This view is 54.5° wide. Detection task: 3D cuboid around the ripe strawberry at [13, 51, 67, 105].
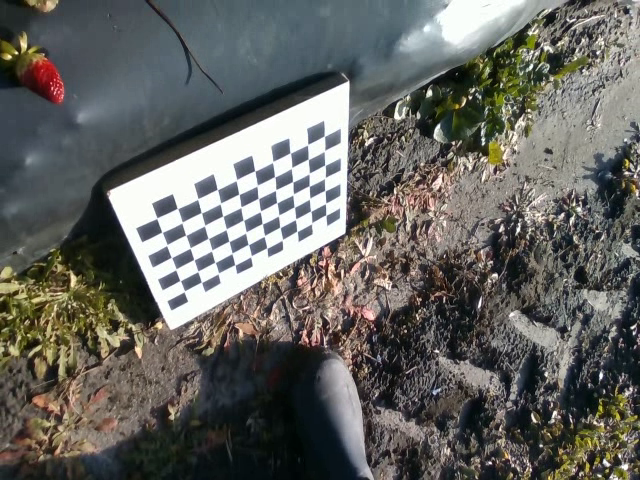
[{"bbox_3d":[-0.183,-0.105,0.412,0.028,0.041,0.031,-42,2,3],"label":"ripe strawberry"}]
